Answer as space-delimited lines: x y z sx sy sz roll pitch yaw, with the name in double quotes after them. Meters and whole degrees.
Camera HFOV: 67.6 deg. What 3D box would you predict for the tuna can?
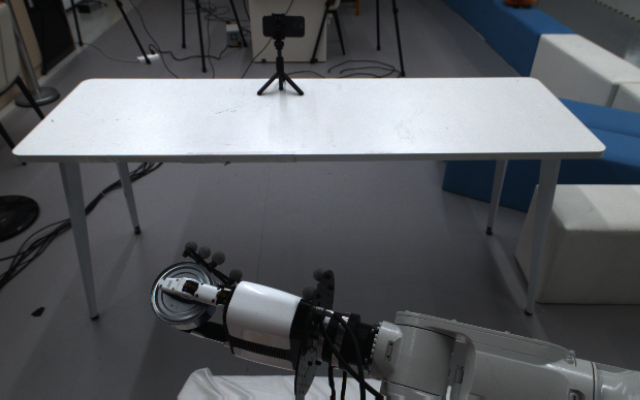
-0.177 0.128 0.644 0.085 0.034 0.085 -2 59 3 "tuna can"
